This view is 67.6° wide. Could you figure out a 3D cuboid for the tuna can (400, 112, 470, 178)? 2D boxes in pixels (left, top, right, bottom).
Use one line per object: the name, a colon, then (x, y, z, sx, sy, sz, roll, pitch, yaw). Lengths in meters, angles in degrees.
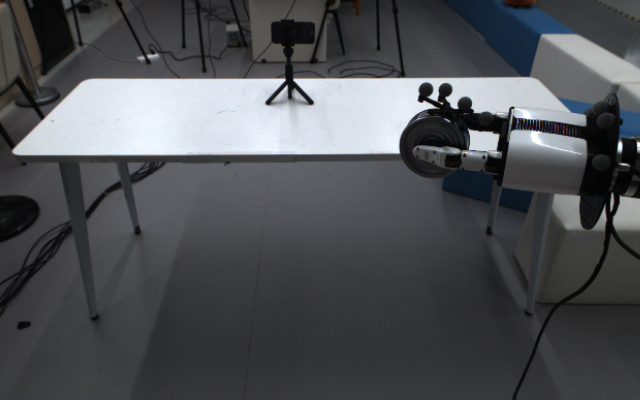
tuna can: (0.148, -0.074, 0.623, 0.085, 0.085, 0.034, 15, 31, 18)
